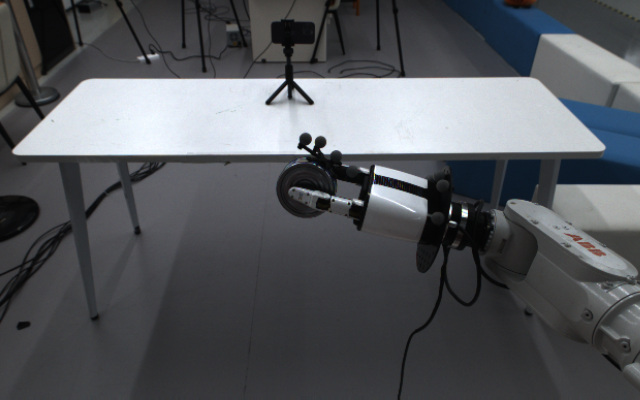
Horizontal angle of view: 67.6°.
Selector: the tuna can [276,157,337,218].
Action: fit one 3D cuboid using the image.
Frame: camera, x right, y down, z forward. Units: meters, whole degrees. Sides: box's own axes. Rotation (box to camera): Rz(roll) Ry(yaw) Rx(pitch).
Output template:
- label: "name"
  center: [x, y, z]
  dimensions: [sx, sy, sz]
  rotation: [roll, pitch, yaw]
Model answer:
- label: "tuna can"
  center: [-0.018, -0.019, 0.698]
  dimensions: [0.085, 0.085, 0.034]
  rotation: [6, 19, 6]
